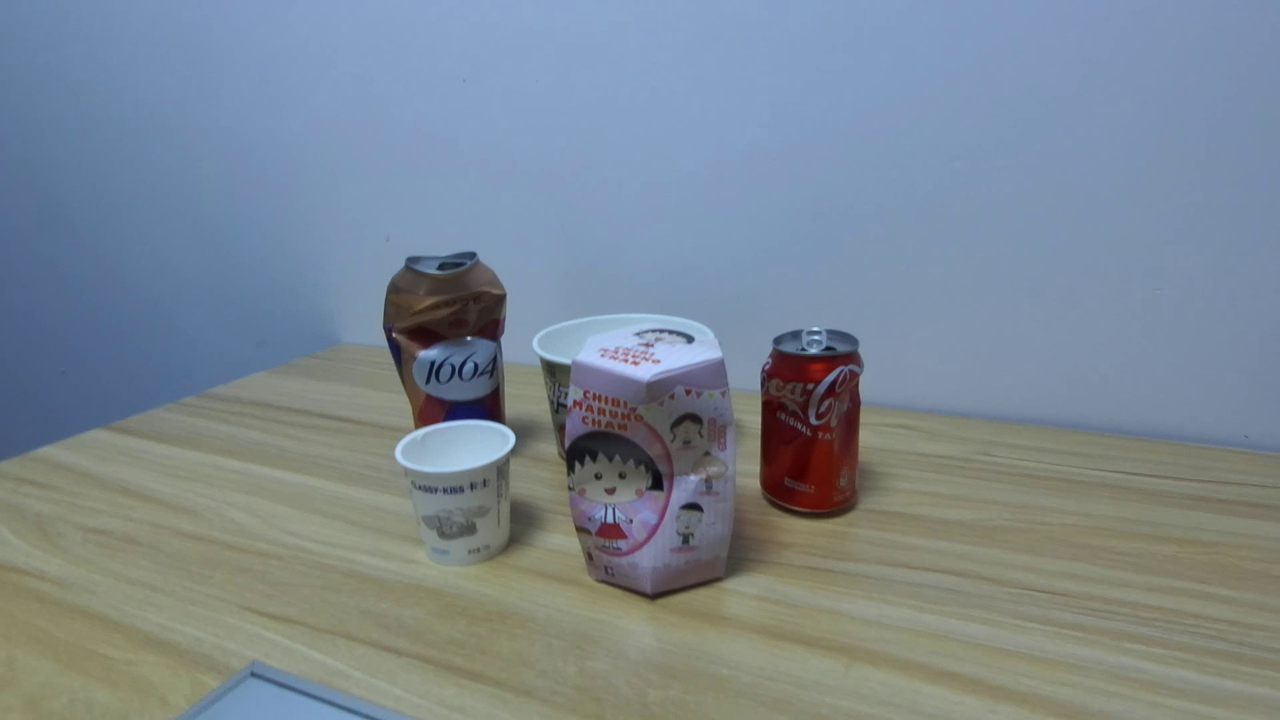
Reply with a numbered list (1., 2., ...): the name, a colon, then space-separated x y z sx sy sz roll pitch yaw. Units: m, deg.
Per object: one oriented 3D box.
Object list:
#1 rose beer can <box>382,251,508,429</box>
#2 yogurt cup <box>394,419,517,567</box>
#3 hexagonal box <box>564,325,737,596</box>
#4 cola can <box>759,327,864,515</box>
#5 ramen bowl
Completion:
1. rose beer can: -0.142 0.001 0.537 0.067 0.162 0.074 11 23 34
2. yogurt cup: -0.109 0.082 0.434 0.072 0.068 0.072 -1 18 1
3. hexagonal box: 0.005 0.054 0.403 0.089 0.134 0.093 -2 20 -2
4. cola can: 0.114 0.039 0.470 0.066 0.117 0.066 -18 25 -38
5. ramen bowl: -0.011 0.025 0.558 0.140 0.095 0.140 0 19 0
